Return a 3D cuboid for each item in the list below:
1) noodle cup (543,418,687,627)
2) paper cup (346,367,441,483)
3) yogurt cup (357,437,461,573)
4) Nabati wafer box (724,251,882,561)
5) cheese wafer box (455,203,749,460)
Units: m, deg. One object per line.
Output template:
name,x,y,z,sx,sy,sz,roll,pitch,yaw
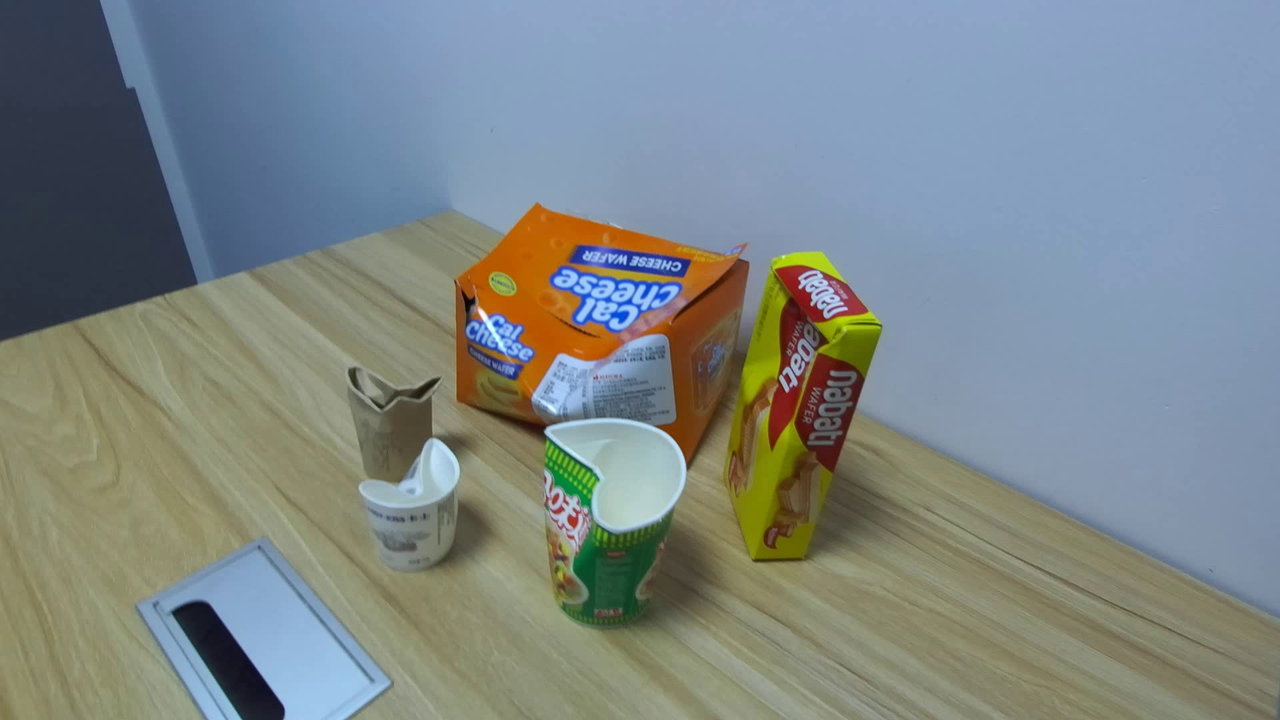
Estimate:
noodle cup,-0.018,0.109,0.447,0.087,0.109,0.093,0,35,-6
paper cup,-0.189,0.047,0.549,0.066,0.083,0.058,30,39,33
yogurt cup,-0.153,0.101,0.482,0.067,0.070,0.067,3,33,-2
Nabati wafer box,0.101,0.037,0.482,0.042,0.203,0.096,0,36,-9
cheese wafer box,-0.037,-0.025,0.611,0.218,0.145,0.191,16,35,16
